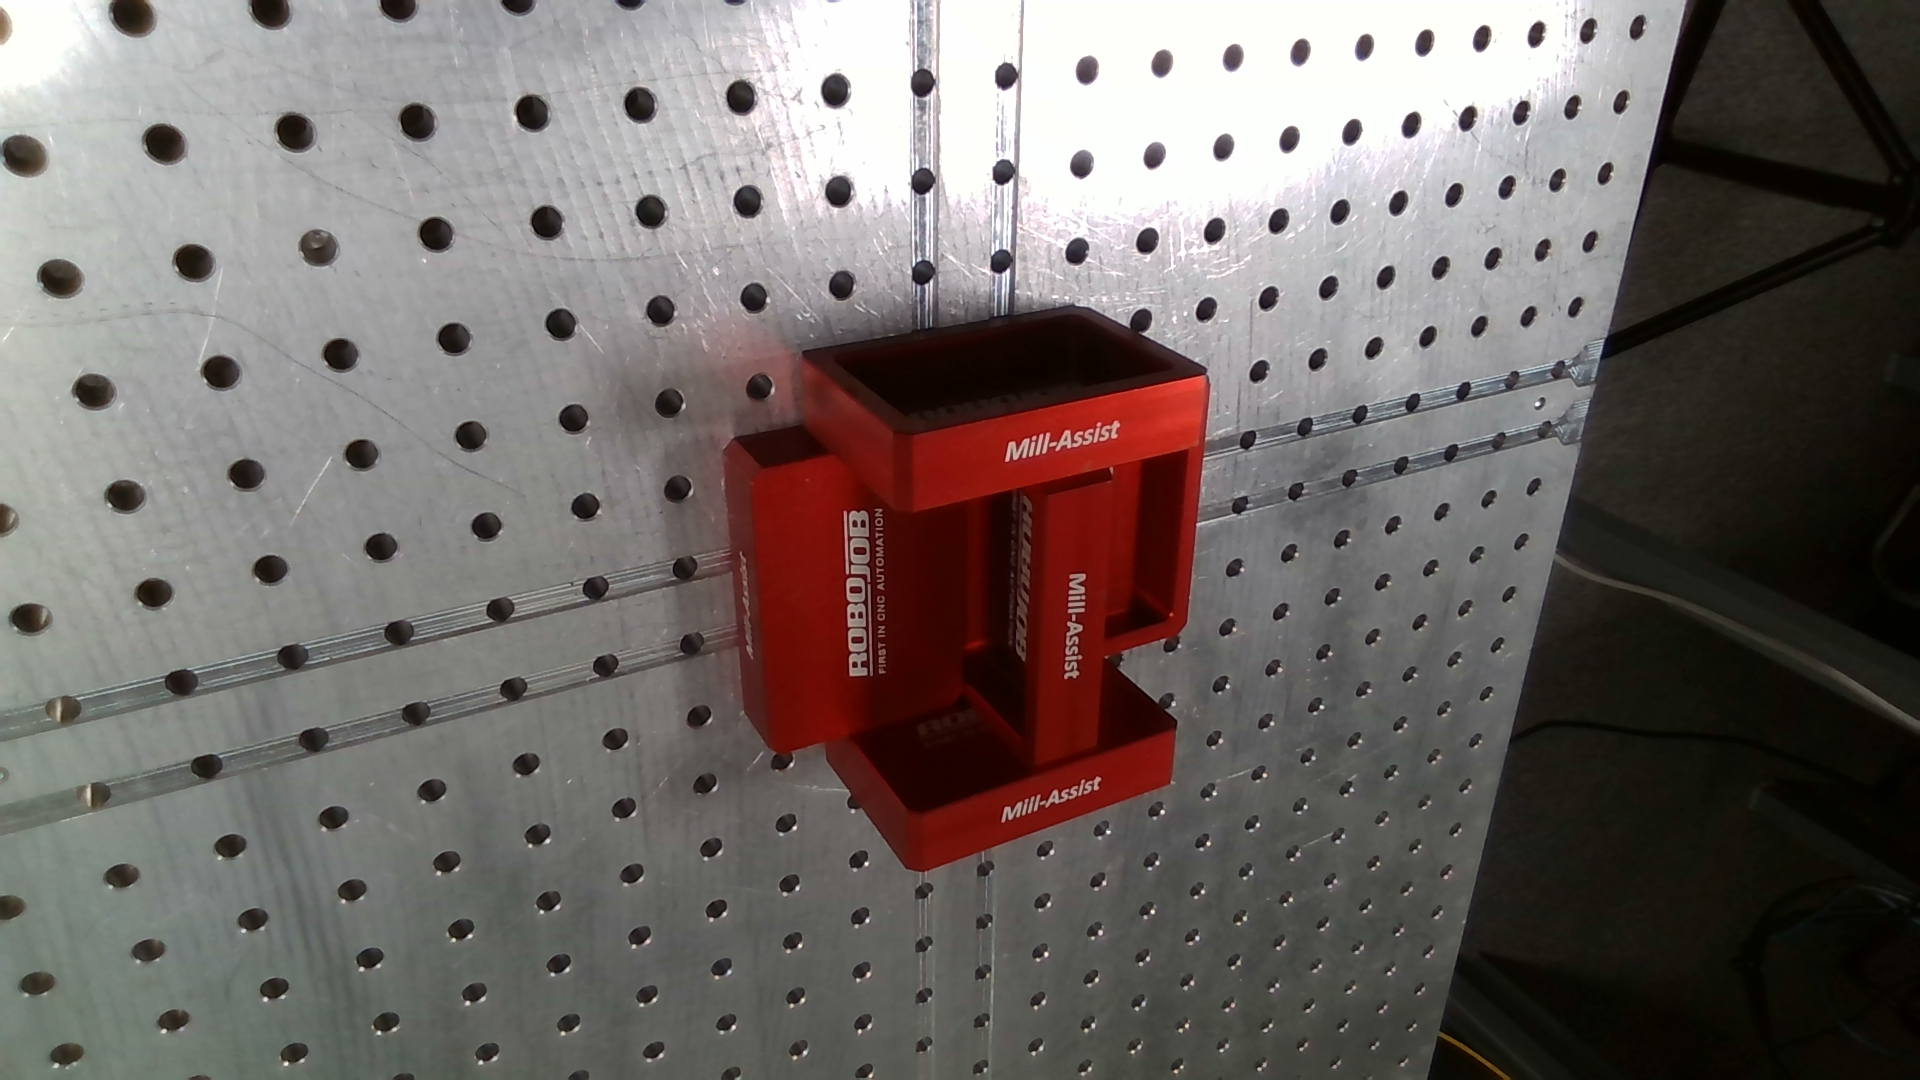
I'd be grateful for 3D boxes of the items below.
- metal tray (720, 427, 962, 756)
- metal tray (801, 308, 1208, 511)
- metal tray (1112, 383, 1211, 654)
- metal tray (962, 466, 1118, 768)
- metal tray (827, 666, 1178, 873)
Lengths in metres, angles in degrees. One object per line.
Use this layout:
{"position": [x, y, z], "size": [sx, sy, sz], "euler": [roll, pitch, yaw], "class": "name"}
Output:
{"position": [-0.045, 0.017, 0.560], "size": [0.090, 0.030, 0.130], "euler": [-14, 121, -25], "class": "metal tray"}
{"position": [0.016, -0.054, 0.522], "size": [0.130, 0.090, 0.030], "euler": [-14, 121, -25], "class": "metal tray"}
{"position": [0.061, -0.010, 0.612], "size": [0.090, 0.030, 0.130], "euler": [-14, 121, -25], "class": "metal tray"}
{"position": [0.023, 0.015, 0.562], "size": [0.030, 0.090, 0.130], "euler": [-14, 121, -25], "class": "metal tray"}
{"position": [0.017, 0.088, 0.599], "size": [0.130, 0.090, 0.030], "euler": [-14, 121, -25], "class": "metal tray"}
